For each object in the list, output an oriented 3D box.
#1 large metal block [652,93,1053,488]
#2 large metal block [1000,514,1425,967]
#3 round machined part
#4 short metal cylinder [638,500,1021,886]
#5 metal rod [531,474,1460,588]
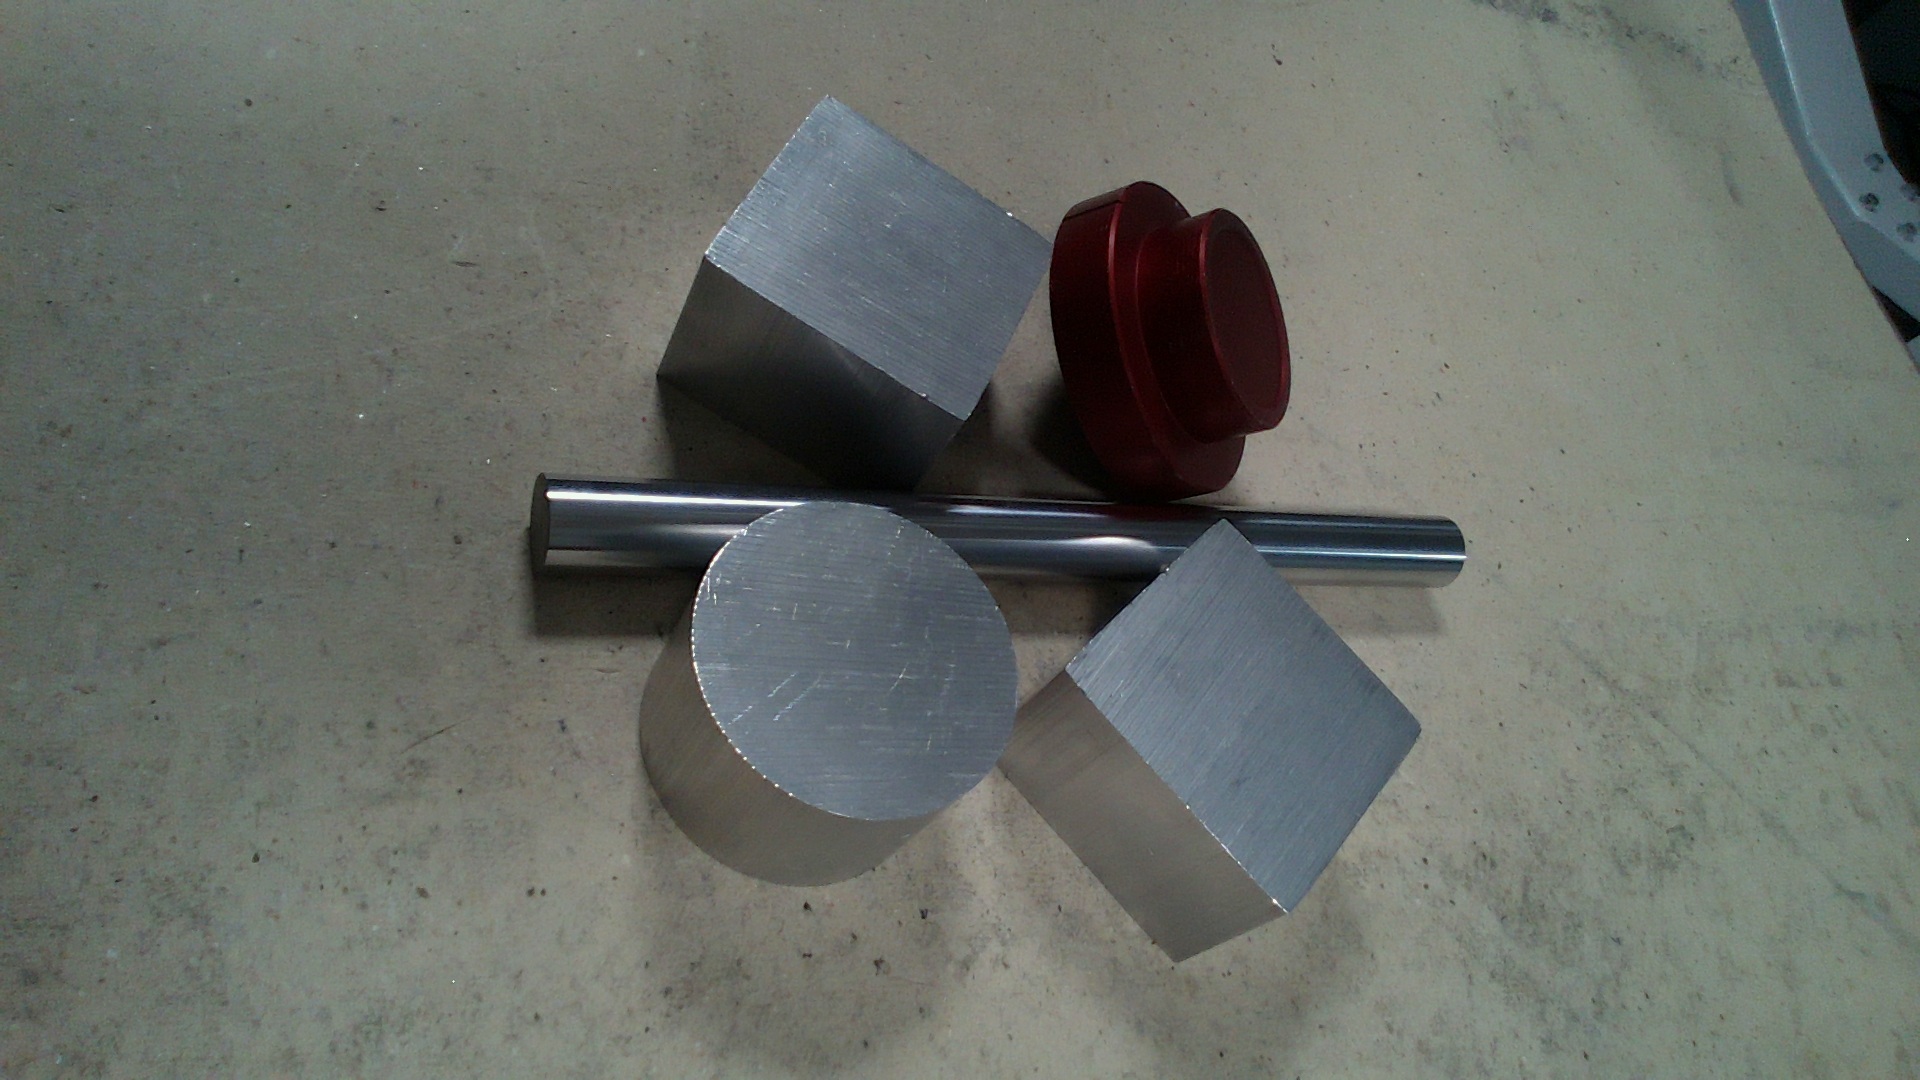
[{"bbox_3d":[-0.029,-0.068,0.397,0.080,0.050,0.080,32,51,-7],"label":"large metal block"},{"bbox_3d":[0.066,0.053,0.377,0.080,0.050,0.080,48,51,5],"label":"large metal block"},{"bbox_3d":[0.069,-0.064,0.425,0.098,0.042,0.098,25,59,-50],"label":"round machined part"},{"bbox_3d":[-0.032,0.038,0.333,0.080,0.050,0.080,14,56,-21],"label":"short metal cylinder"},{"bbox_3d":[0.030,0.000,0.407,0.301,0.025,0.025,2,61,-27],"label":"metal rod"}]
